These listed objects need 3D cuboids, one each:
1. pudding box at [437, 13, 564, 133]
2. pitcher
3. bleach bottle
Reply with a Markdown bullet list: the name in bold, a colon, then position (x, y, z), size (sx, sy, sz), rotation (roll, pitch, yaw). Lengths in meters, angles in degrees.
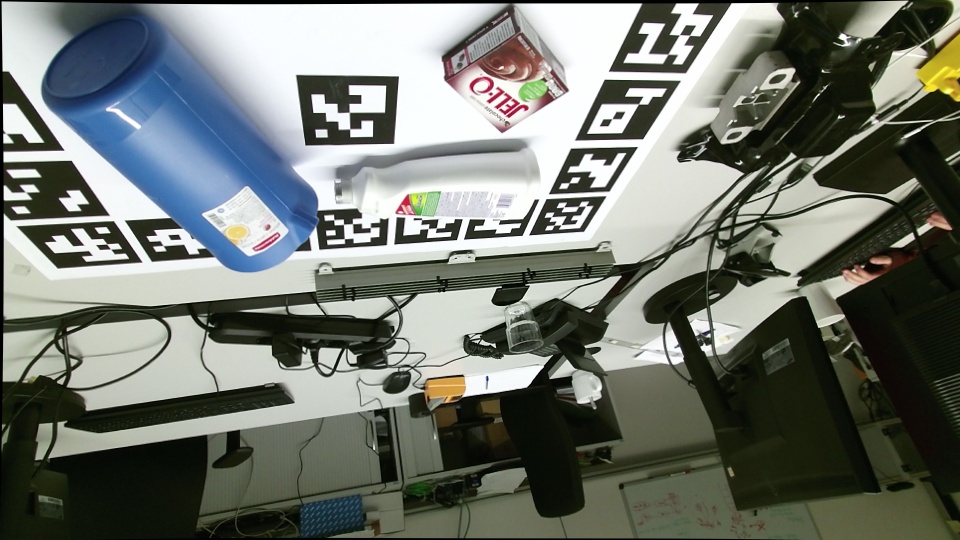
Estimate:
- **pudding box**: position (0.023, -0.201, 0.565), size (0.090, 0.038, 0.114), rotation (-23, 148, 28)
- **pitcher**: position (-0.293, -0.115, 0.536), size (0.189, 0.133, 0.243), rotation (13, 154, 25)
- **bleach bottle**: position (-0.059, -0.098, 0.694), size (0.252, 0.067, 0.103), rotation (-6, 145, -9)
